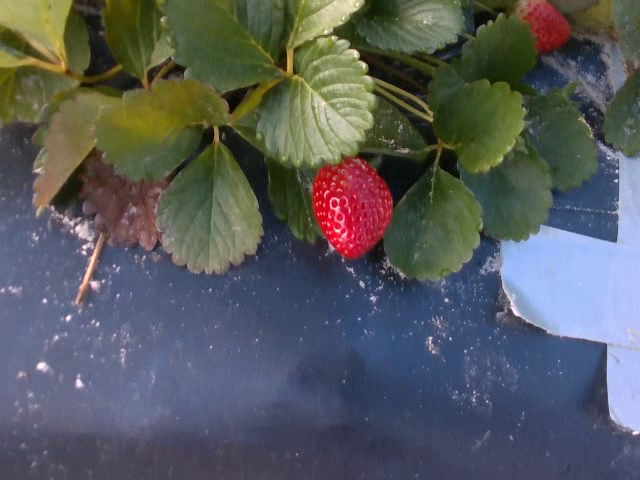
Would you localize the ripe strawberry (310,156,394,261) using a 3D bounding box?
[{"bbox_3d":[0.006,-0.005,0.117,0.018,0.023,0.021,1,-34,7],"label":"ripe strawberry"}]
